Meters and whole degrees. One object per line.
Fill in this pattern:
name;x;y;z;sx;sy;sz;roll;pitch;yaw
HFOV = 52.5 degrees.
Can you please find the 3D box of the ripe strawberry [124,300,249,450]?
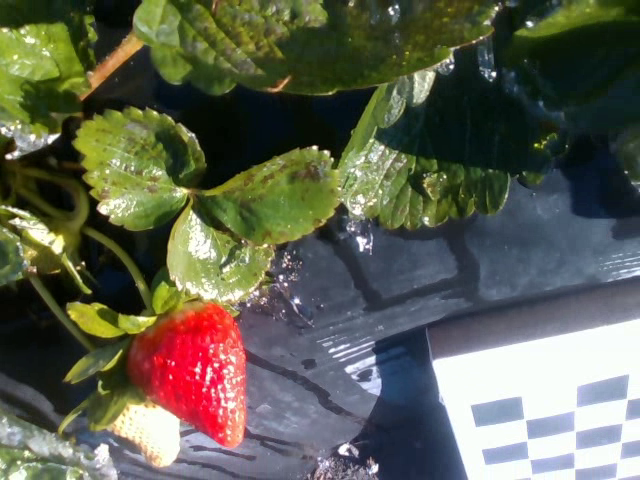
ripe strawberry;-0.041;0.055;0.240;0.042;0.061;0.046;-24;2;20
